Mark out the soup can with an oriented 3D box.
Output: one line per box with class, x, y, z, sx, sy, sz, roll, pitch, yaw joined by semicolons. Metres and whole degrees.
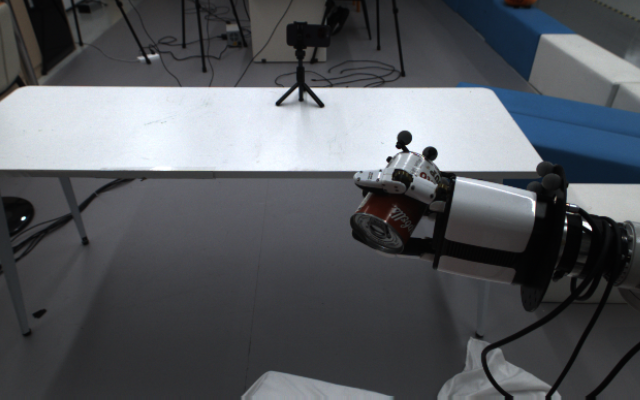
soup can;0.091;0.001;0.553;0.067;0.067;0.101;22;60;26
